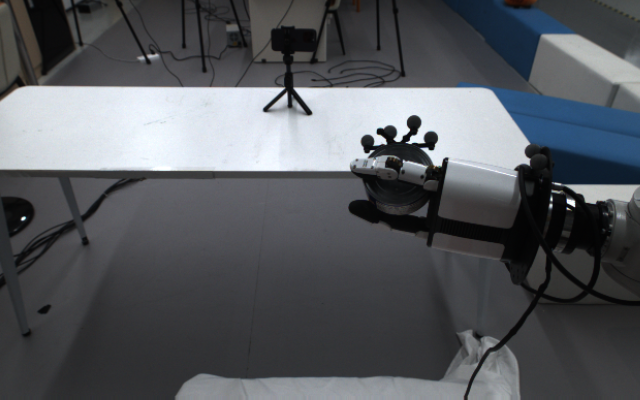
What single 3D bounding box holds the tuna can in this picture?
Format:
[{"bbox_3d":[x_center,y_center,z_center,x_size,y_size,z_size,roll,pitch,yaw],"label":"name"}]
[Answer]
[{"bbox_3d":[0.096,-0.026,0.591,0.085,0.034,0.085,-6,61,10],"label":"tuna can"}]
